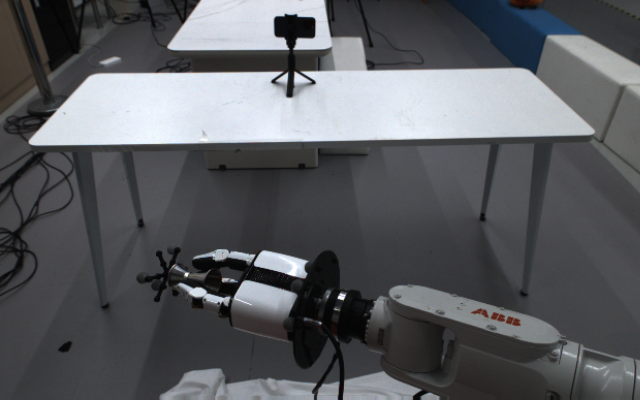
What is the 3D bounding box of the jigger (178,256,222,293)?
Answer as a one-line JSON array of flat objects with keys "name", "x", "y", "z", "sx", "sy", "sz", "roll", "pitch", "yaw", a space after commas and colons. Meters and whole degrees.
[{"name": "jigger", "x": -0.182, "y": 0.112, "z": 0.723, "sx": 0.071, "sy": 0.043, "sz": 0.043, "roll": 4, "pitch": 33, "yaw": 23}]
